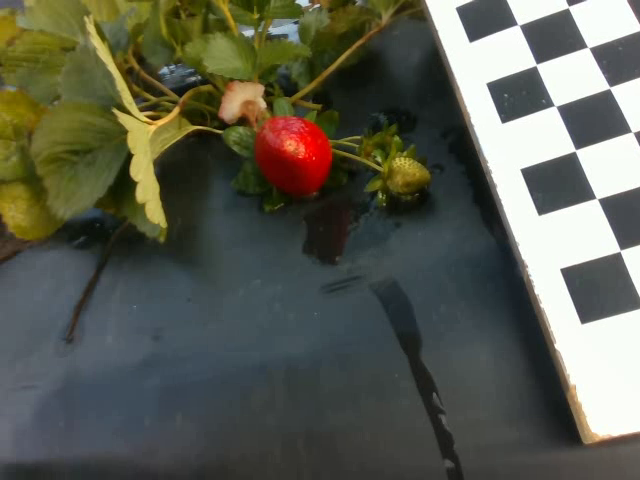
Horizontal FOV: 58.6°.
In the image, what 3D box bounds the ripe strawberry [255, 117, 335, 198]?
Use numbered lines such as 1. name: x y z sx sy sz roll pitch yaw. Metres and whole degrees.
1. ripe strawberry: -0.013 -0.047 0.304 0.043 0.052 0.057 -43 3 5
